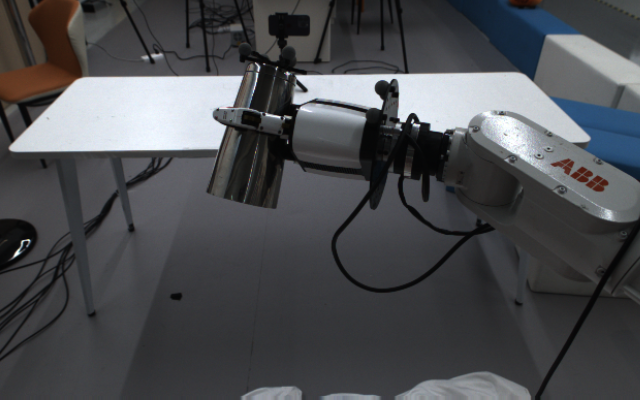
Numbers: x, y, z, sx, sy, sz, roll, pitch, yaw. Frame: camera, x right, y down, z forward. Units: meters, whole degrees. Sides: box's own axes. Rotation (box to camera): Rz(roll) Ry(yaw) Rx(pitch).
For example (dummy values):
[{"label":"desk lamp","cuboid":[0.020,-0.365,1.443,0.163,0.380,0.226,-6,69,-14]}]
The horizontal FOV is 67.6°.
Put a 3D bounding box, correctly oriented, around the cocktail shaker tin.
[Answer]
[{"label":"cocktail shaker tin","cuboid":[-0.082,-0.082,0.622,0.093,0.170,0.093,14,2,0]}]
